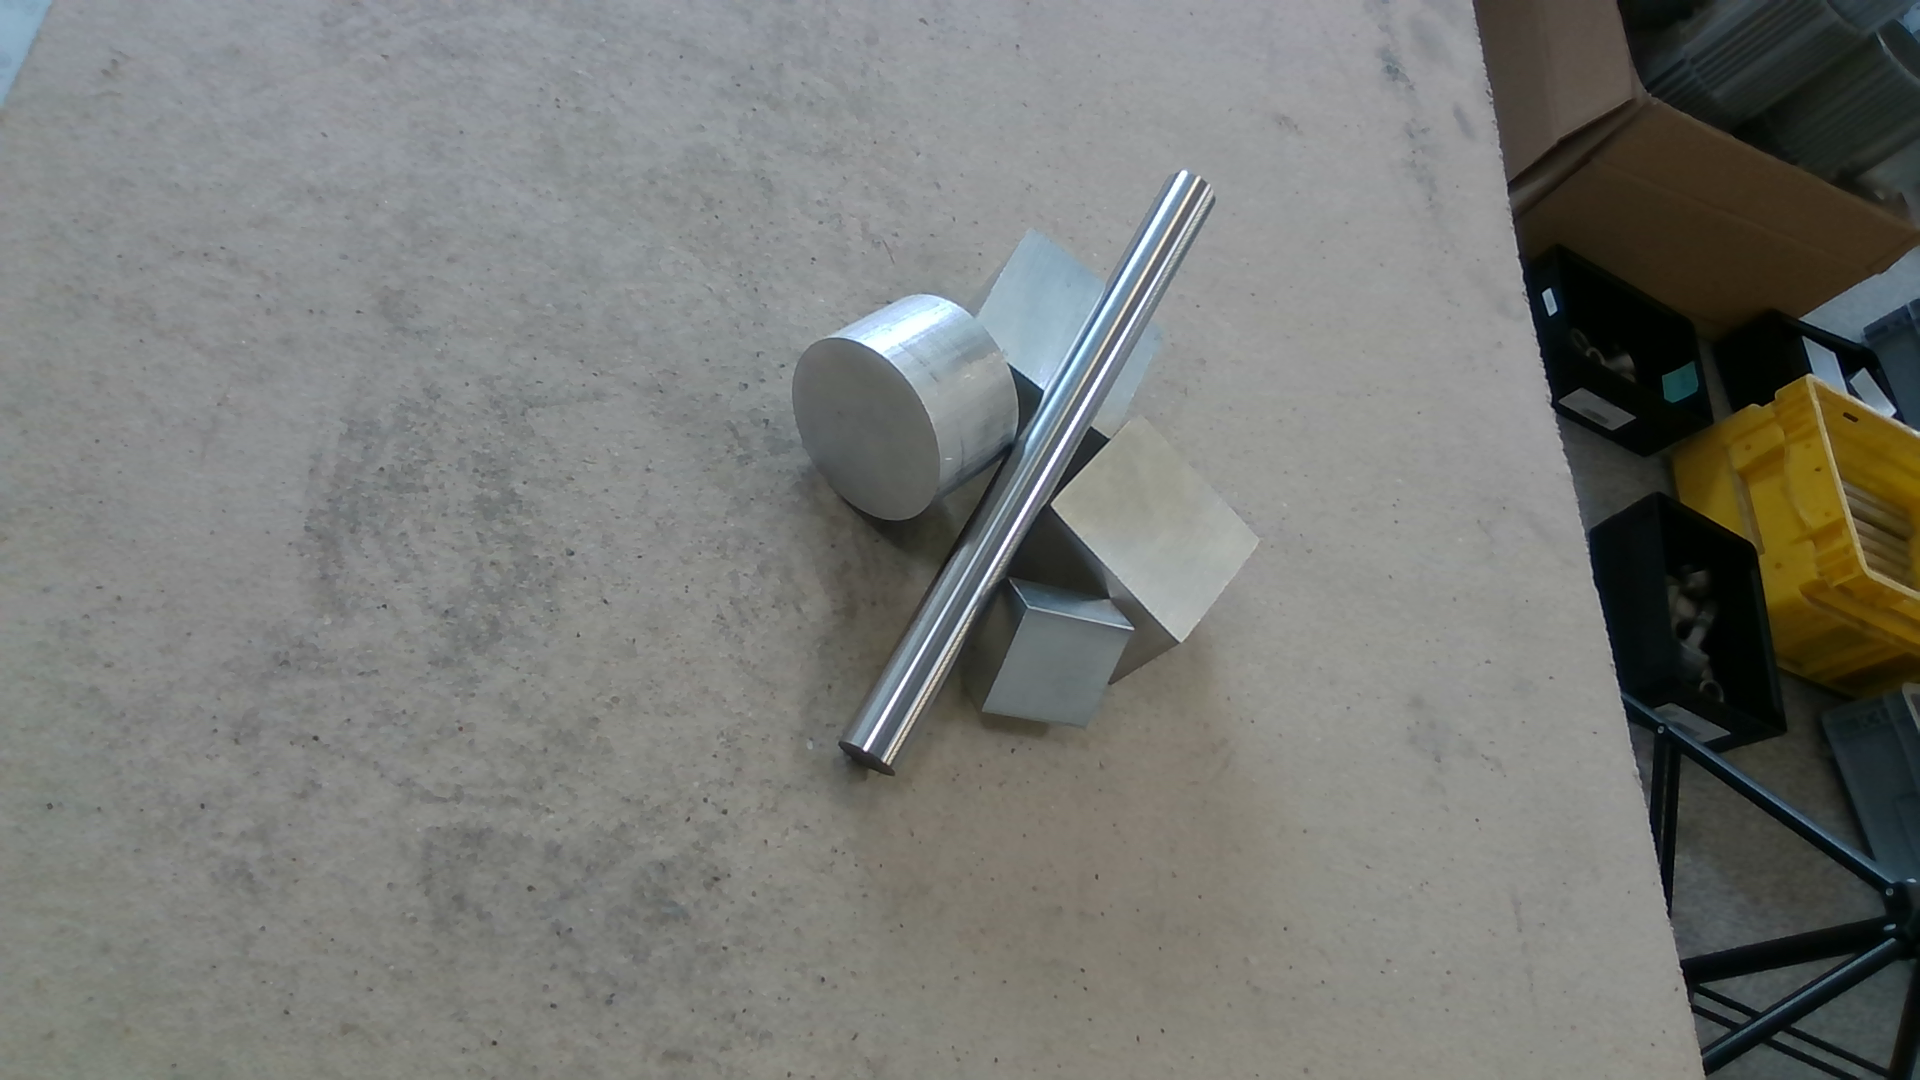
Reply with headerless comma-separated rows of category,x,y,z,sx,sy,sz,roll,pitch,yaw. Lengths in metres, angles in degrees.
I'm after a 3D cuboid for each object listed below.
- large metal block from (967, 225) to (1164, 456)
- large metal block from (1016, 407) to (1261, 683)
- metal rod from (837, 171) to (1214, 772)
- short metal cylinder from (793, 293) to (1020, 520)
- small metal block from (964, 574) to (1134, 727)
large metal block,0.038,-0.084,0.639,0.080,0.050,0.080,36,52,-11
large metal block,0.074,0.002,0.612,0.080,0.050,0.080,47,51,-2
metal rod,0.034,-0.038,0.575,0.025,0.025,0.299,35,69,-11
short metal cylinder,-0.022,-0.055,0.566,0.050,0.080,0.080,-36,87,-39
small metal block,0.036,0.046,0.565,0.050,0.050,0.025,12,24,-26
